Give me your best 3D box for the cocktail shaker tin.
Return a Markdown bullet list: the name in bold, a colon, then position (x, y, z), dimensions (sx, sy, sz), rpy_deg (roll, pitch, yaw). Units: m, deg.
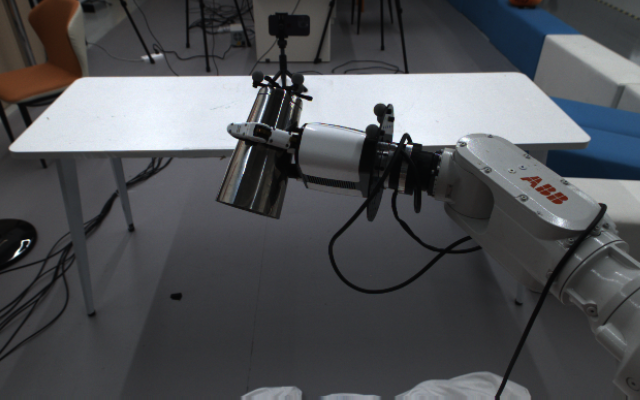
- **cocktail shaker tin**: position (-0.080, -0.068, 0.680), dimensions (0.093, 0.170, 0.093), rpy_deg (16, -7, 2)
